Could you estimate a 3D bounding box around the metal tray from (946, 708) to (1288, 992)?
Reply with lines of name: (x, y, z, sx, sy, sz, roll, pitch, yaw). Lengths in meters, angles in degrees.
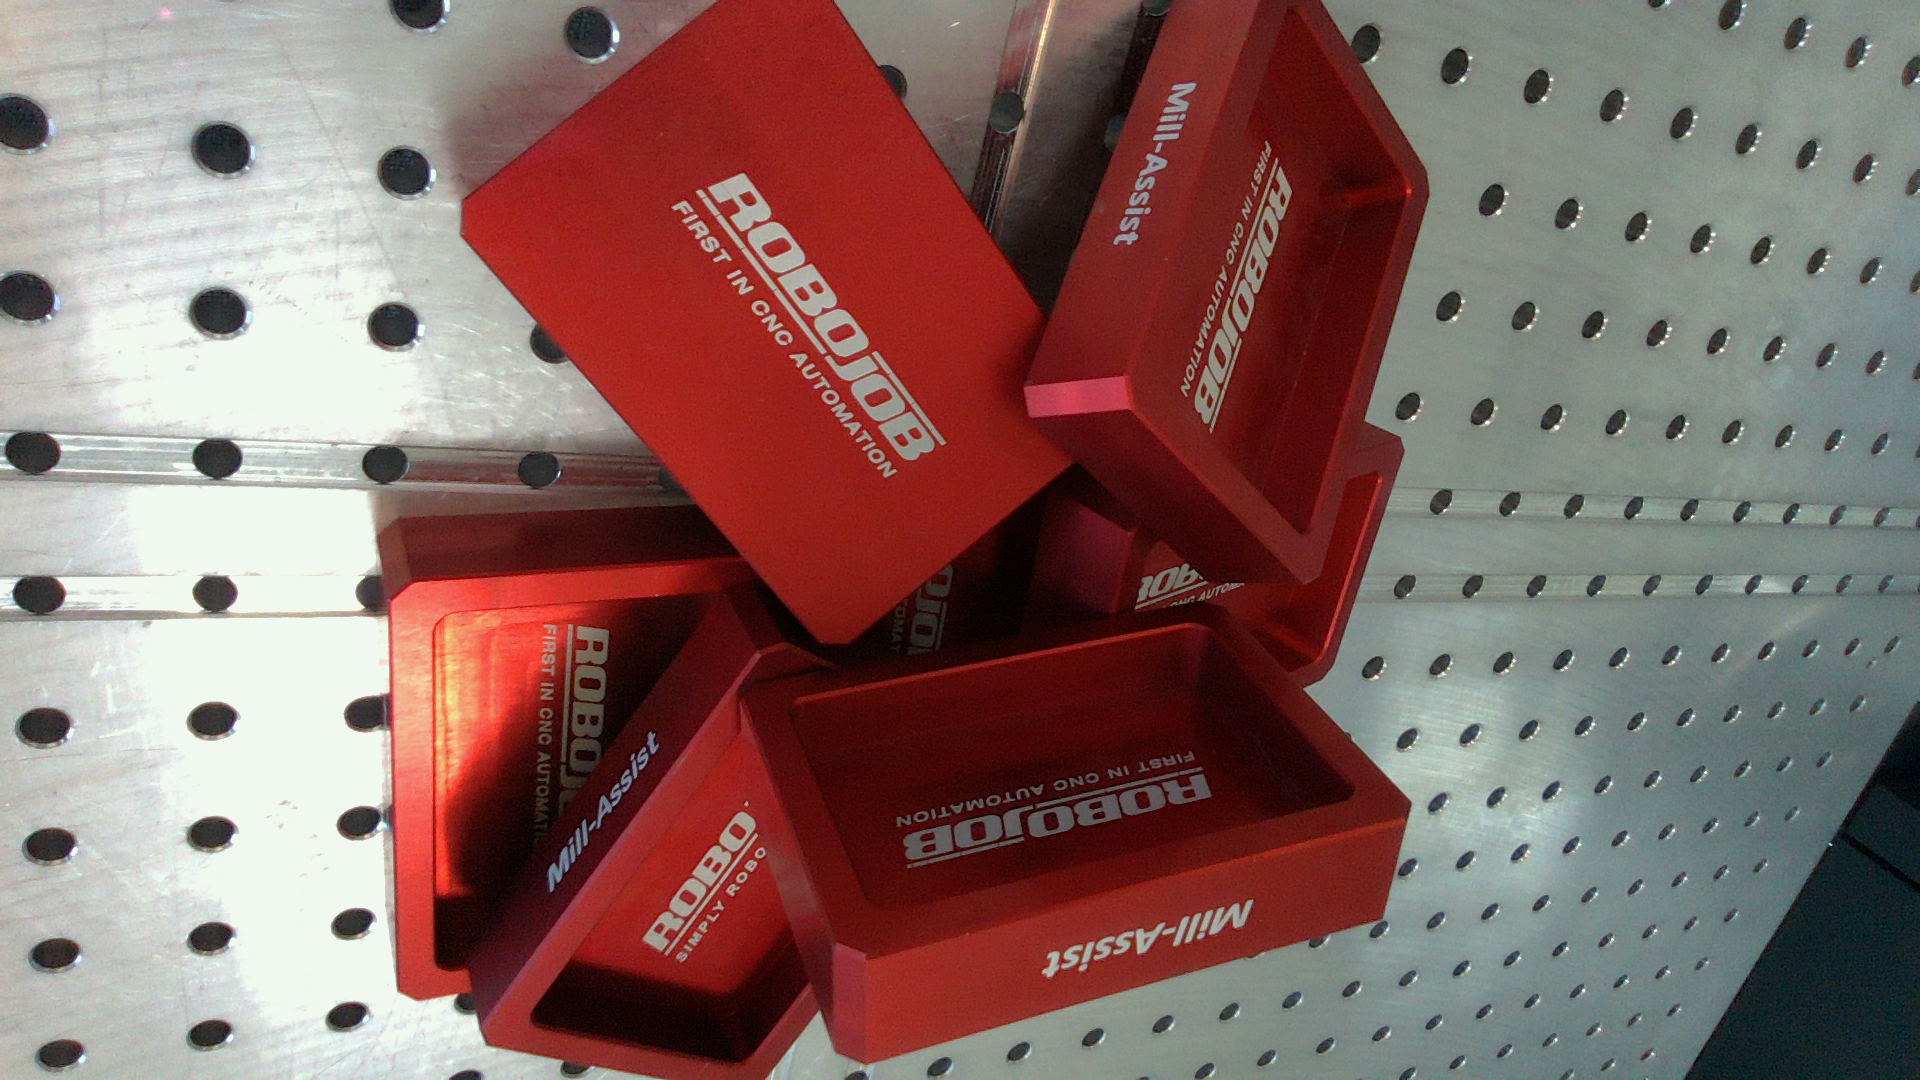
metal tray: (0.043, 0.102, 0.431, 0.090, 0.030, 0.130, -26, 161, -12)

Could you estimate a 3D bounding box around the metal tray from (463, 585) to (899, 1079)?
metal tray: (-0.059, 0.085, 0.370, 0.090, 0.030, 0.130, 30, 102, -38)

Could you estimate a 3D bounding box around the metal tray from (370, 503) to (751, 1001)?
metal tray: (-0.105, 0.056, 0.367, 0.090, 0.030, 0.130, -5, 120, -27)

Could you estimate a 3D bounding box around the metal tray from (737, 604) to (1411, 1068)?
metal tray: (0.022, 0.060, 0.316, 0.130, 0.090, 0.030, -9, 122, -19)

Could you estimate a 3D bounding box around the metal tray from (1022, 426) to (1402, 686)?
metal tray: (0.075, 0.014, 0.414, 0.131, 0.030, 0.090, -16, 127, -40)

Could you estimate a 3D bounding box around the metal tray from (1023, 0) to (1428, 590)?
metal tray: (0.072, -0.064, 0.345, 0.090, 0.030, 0.130, 38, 64, -38)

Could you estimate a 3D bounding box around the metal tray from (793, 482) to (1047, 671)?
metal tray: (-0.008, 0.010, 0.390, 0.090, 0.030, 0.130, -6, 119, -28)

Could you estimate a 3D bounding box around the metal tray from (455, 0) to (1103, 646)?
metal tray: (-0.037, -0.051, 0.316, 0.090, 0.030, 0.130, -39, 114, -2)
